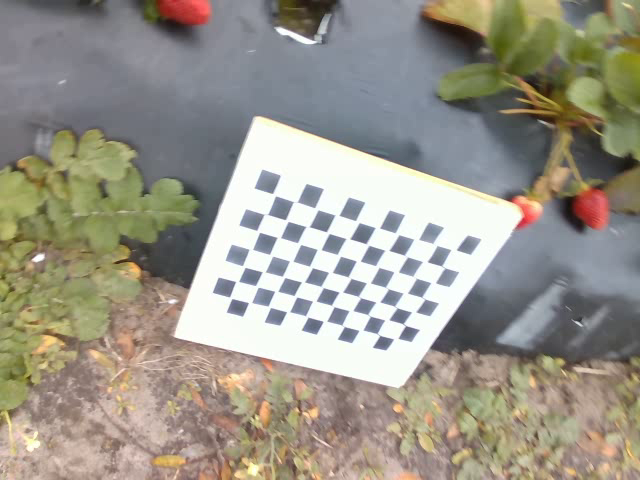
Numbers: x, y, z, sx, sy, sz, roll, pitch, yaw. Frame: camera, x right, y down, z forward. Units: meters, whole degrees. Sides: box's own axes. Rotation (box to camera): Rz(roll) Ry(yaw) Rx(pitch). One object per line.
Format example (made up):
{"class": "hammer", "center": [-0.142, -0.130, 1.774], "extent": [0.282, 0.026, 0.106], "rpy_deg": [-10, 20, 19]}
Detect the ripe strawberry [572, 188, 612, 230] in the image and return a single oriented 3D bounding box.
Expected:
{"class": "ripe strawberry", "center": [0.298, -0.035, 0.850], "extent": [0.044, 0.059, 0.042], "rpy_deg": [-16, 15, 19]}

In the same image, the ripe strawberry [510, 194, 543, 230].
{"class": "ripe strawberry", "center": [0.220, -0.027, 0.831], "extent": [0.036, 0.041, 0.028], "rpy_deg": [21, 15, -9]}

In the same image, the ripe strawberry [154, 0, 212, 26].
{"class": "ripe strawberry", "center": [-0.134, -0.217, 0.714], "extent": [0.046, 0.064, 0.048], "rpy_deg": [-53, -7, 36]}
